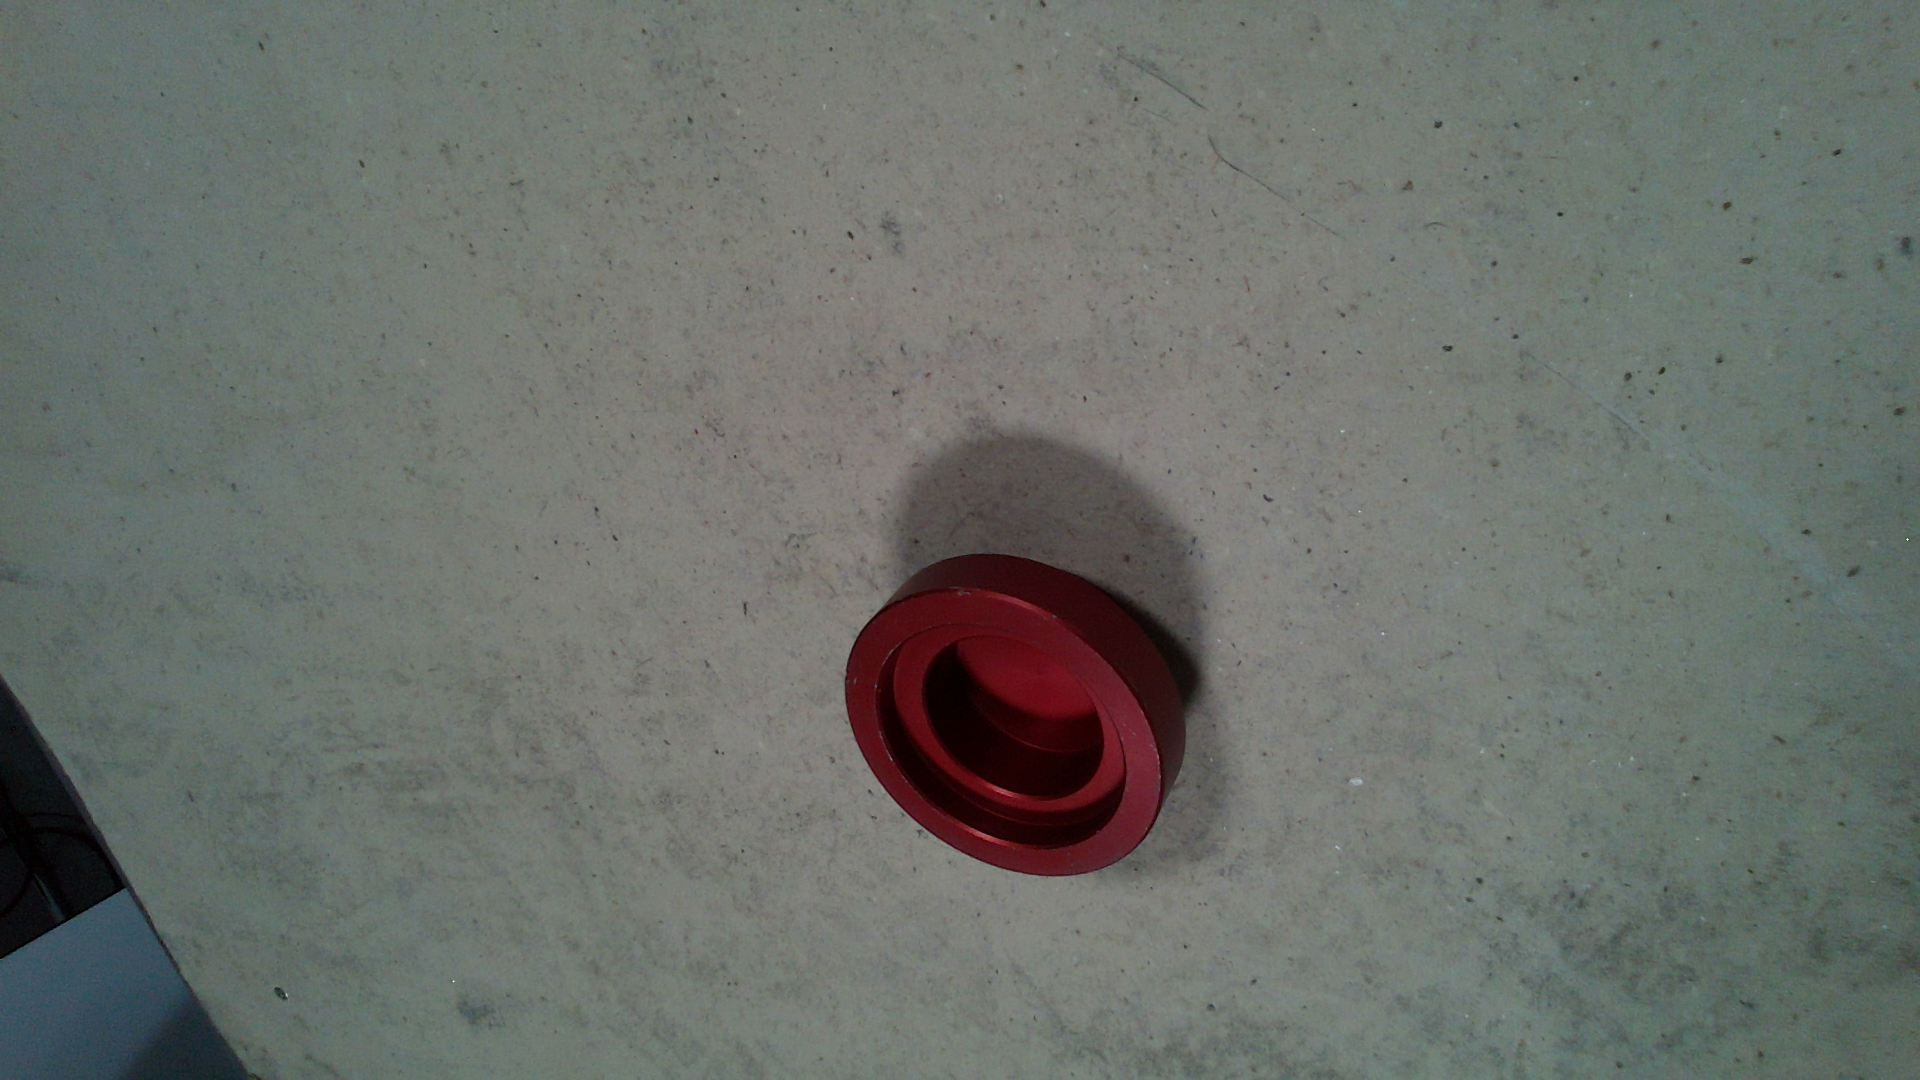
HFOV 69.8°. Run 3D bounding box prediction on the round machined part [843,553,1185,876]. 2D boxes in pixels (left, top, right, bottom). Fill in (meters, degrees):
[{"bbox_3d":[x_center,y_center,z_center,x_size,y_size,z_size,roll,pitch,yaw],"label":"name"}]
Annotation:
[{"bbox_3d":[0.019,0.046,0.401,0.098,0.042,0.098,13,124,21],"label":"round machined part"}]
